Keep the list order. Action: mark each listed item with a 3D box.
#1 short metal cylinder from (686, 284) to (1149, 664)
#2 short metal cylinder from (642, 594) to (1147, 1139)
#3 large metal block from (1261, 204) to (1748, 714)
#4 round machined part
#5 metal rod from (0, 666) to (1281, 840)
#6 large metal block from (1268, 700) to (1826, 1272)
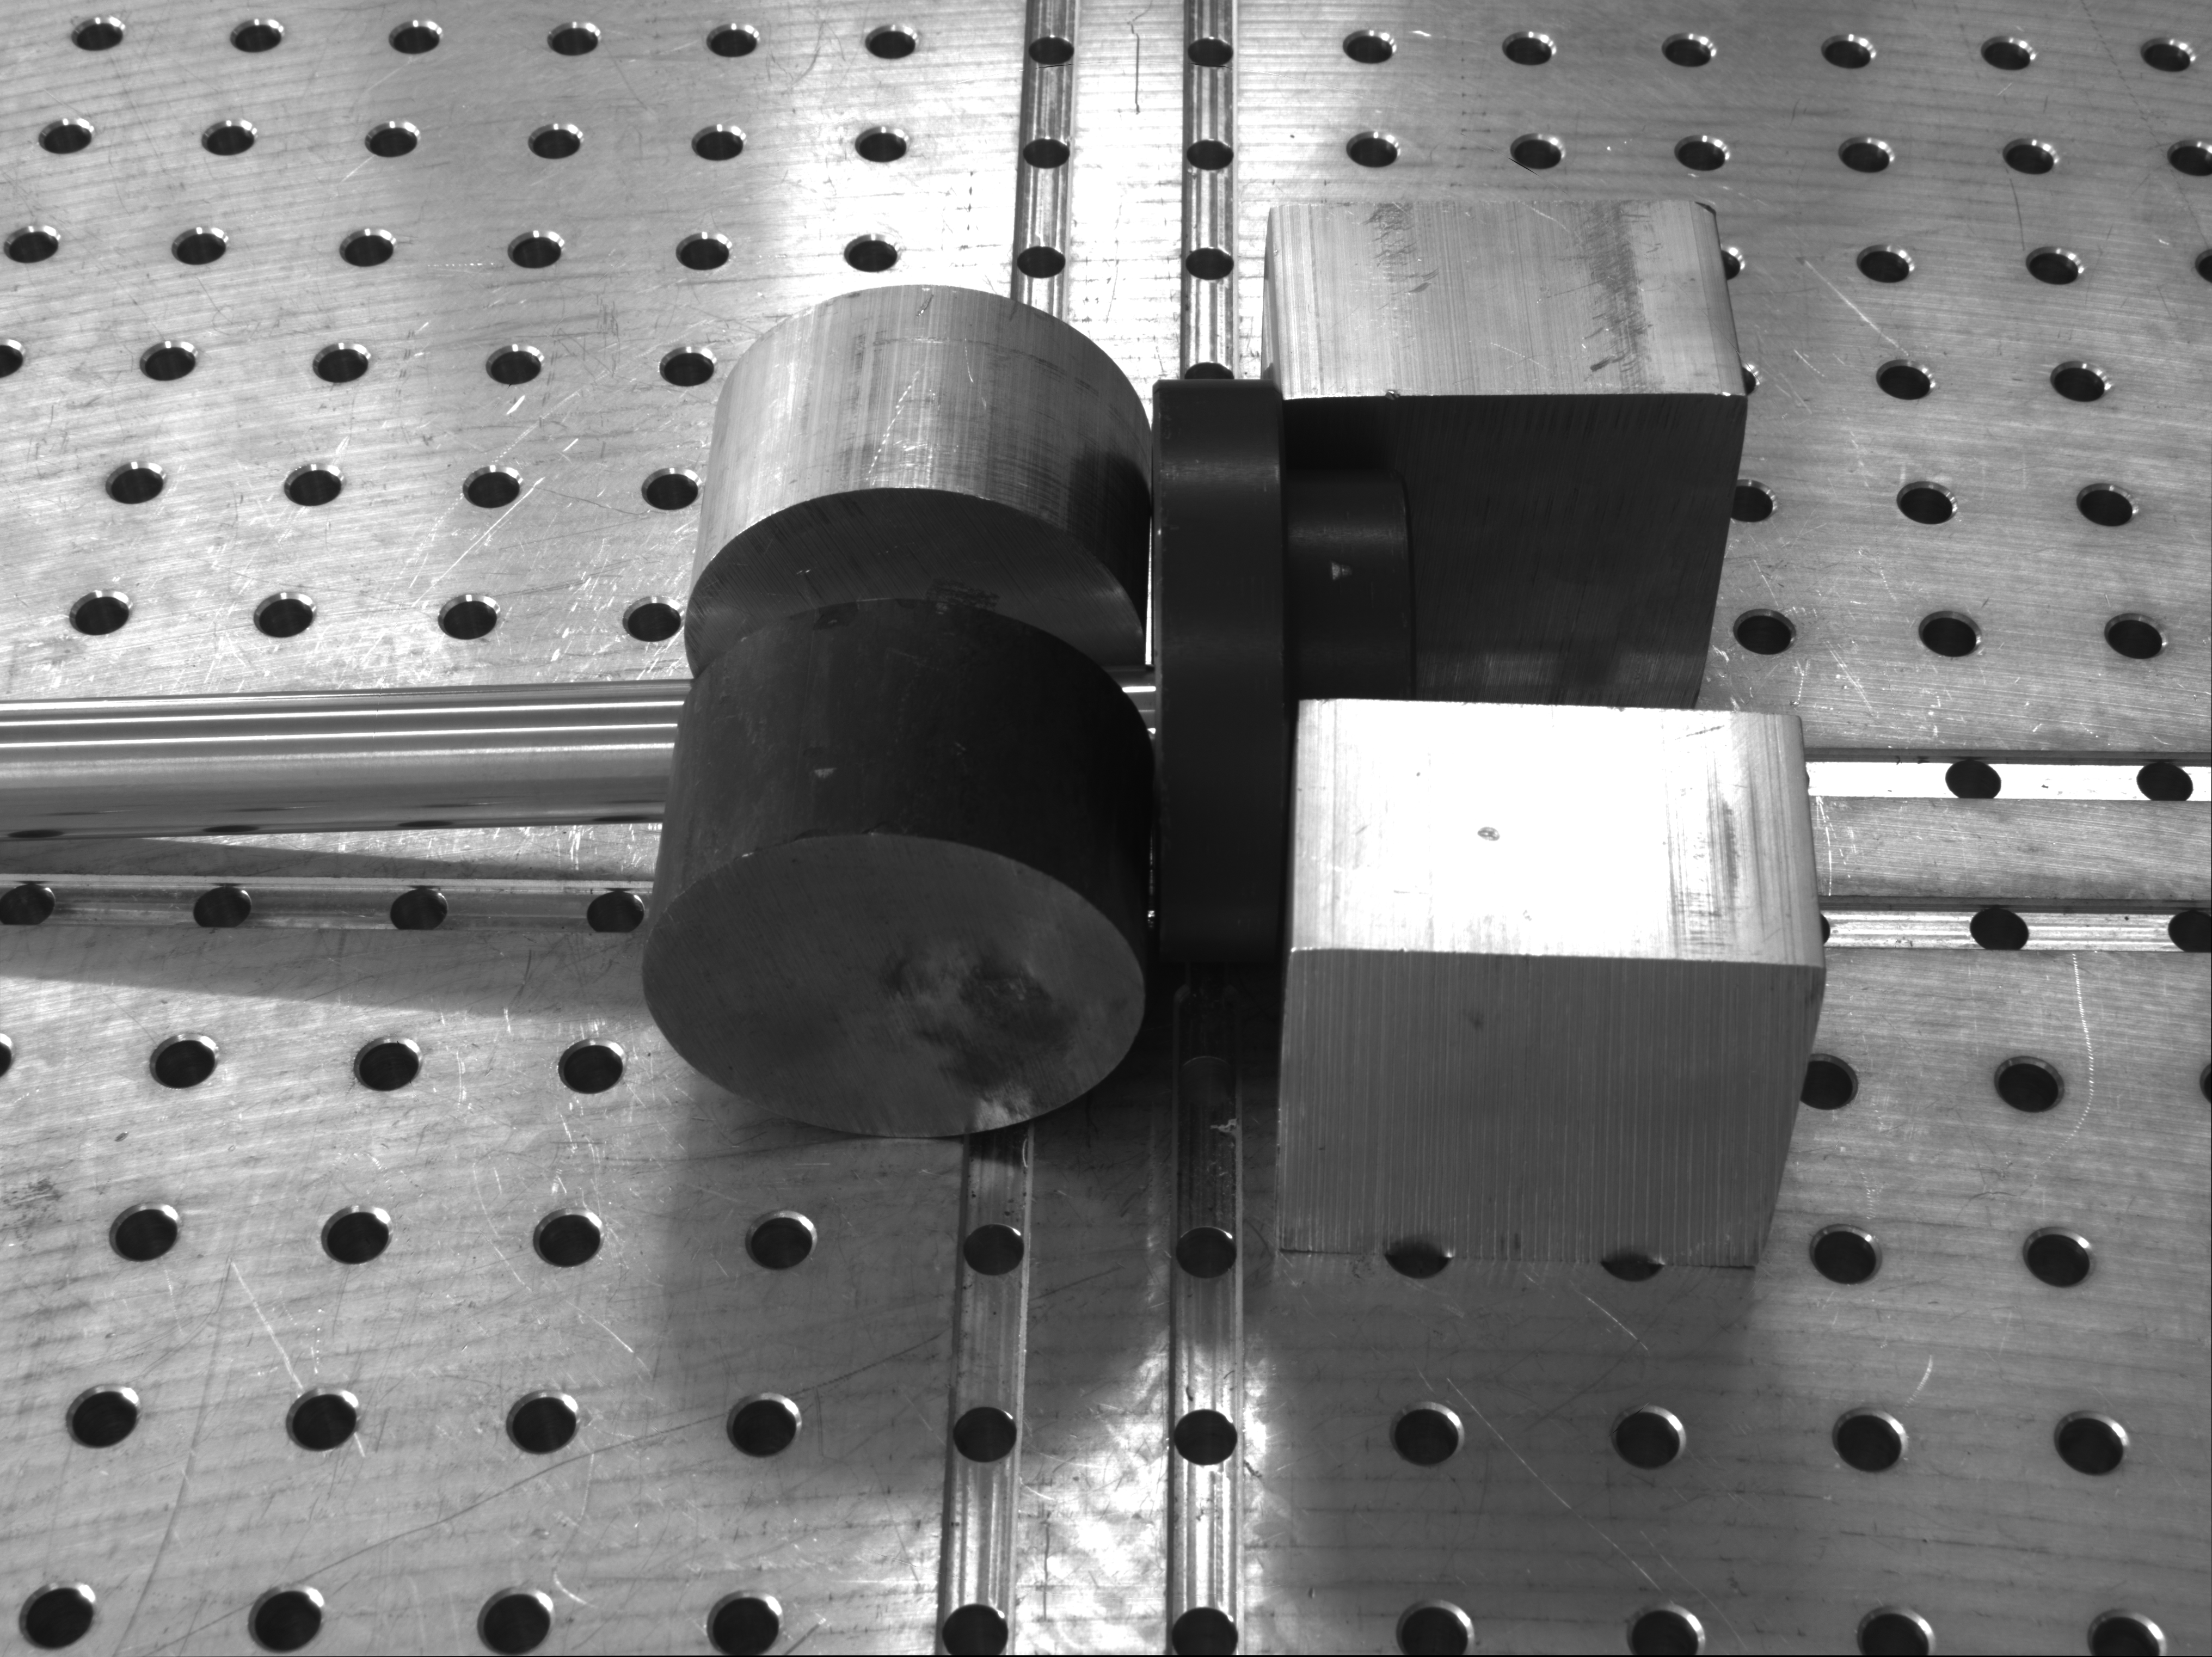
[{"bbox_3d":[-0.032,-0.050,0.651,0.080,0.080,0.050,1,50,1],"label":"short metal cylinder"},{"bbox_3d":[-0.033,0.007,0.602,0.080,0.080,0.050,1,50,1],"label":"short metal cylinder"},{"bbox_3d":[0.069,-0.066,0.665,0.080,0.080,0.050,0,50,0],"label":"large metal block"},{"bbox_3d":[0.029,-0.026,0.619,0.042,0.098,0.098,1,50,1],"label":"round machined part"},{"bbox_3d":[-0.115,-0.012,0.640,0.300,0.025,0.025,-1,50,4],"label":"metal rod"},{"bbox_3d":[0.068,0.026,0.588,0.080,0.080,0.050,2,50,2],"label":"large metal block"}]
